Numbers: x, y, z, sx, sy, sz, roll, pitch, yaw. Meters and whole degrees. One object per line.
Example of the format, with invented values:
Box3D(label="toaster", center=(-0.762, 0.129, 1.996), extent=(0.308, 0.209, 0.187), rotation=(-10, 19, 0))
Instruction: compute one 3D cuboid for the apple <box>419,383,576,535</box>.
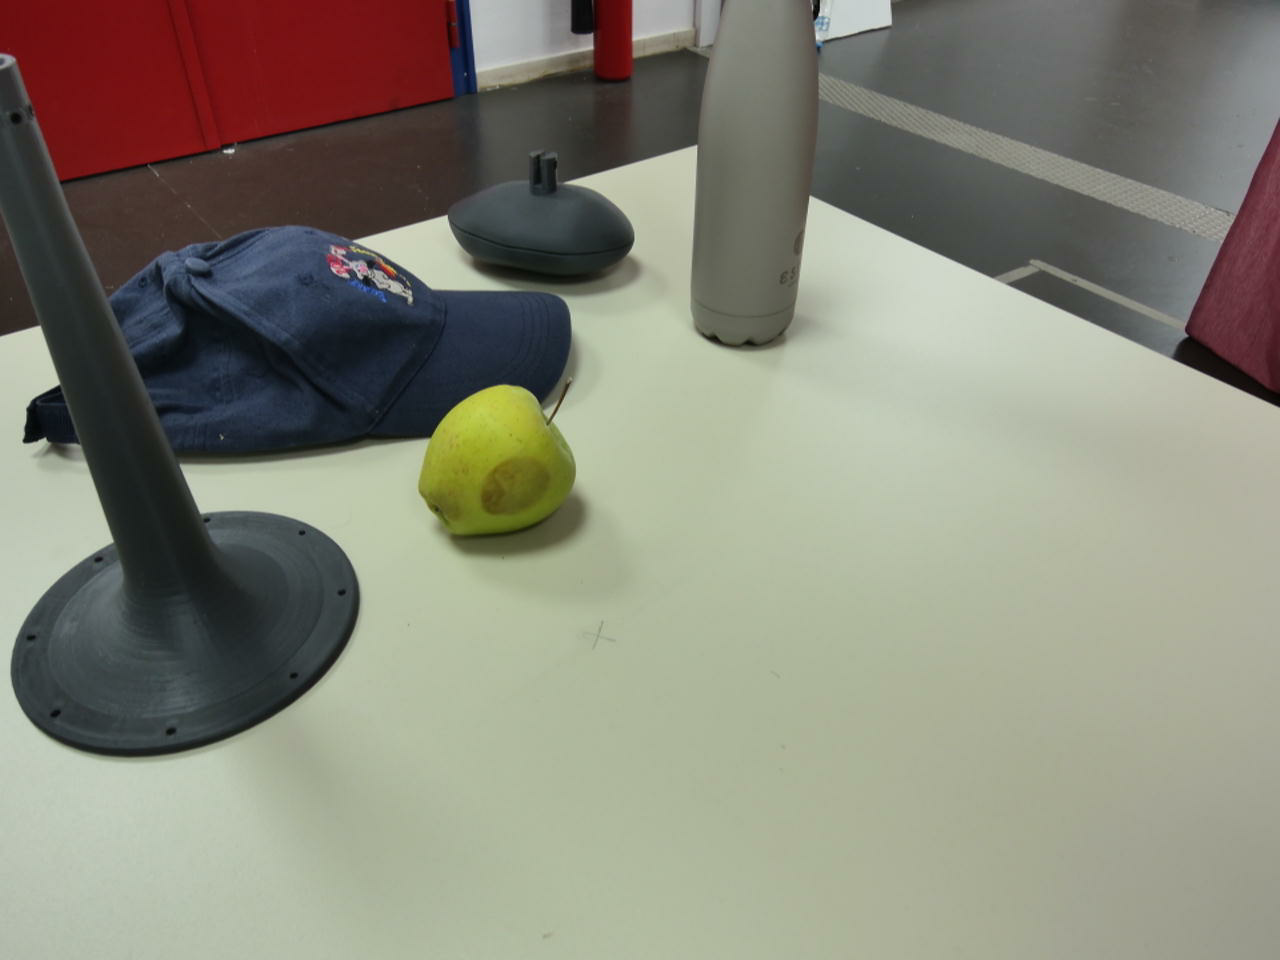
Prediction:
Box3D(label="apple", center=(-0.072, -0.011, 0.510), extent=(0.077, 0.075, 0.072), rotation=(5, 38, 4))
